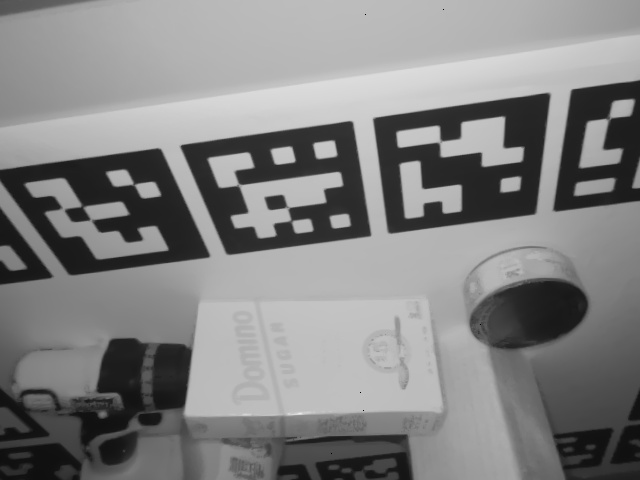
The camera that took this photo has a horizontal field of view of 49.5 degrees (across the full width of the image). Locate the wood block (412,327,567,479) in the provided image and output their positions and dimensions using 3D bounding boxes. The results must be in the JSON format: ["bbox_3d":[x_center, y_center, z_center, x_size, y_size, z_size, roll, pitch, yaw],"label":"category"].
[{"bbox_3d":[0.138,0.183,0.552,0.090,0.208,0.090,-30,126,22],"label":"wood block"}]

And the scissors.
[{"bbox_3d":[0.069,0.208,0.685,0.203,0.016,0.087,-6,136,1],"label":"scissors"}]

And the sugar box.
[{"bbox_3d":[-0.001,0.094,0.527,0.177,0.093,0.045,3,135,-4],"label":"sugar box"}]

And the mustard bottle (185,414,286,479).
[{"bbox_3d":[-0.075,0.235,0.591,0.097,0.193,0.057,33,122,-27],"label":"mustard bottle"}]

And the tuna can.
[{"bbox_3d":[0.161,0.051,0.532,0.086,0.034,0.085,-2,132,-1],"label":"tuna can"}]

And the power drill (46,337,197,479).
[{"bbox_3d":[-0.131,0.164,0.602,0.185,0.058,0.185,2,125,-6],"label":"power drill"}]
